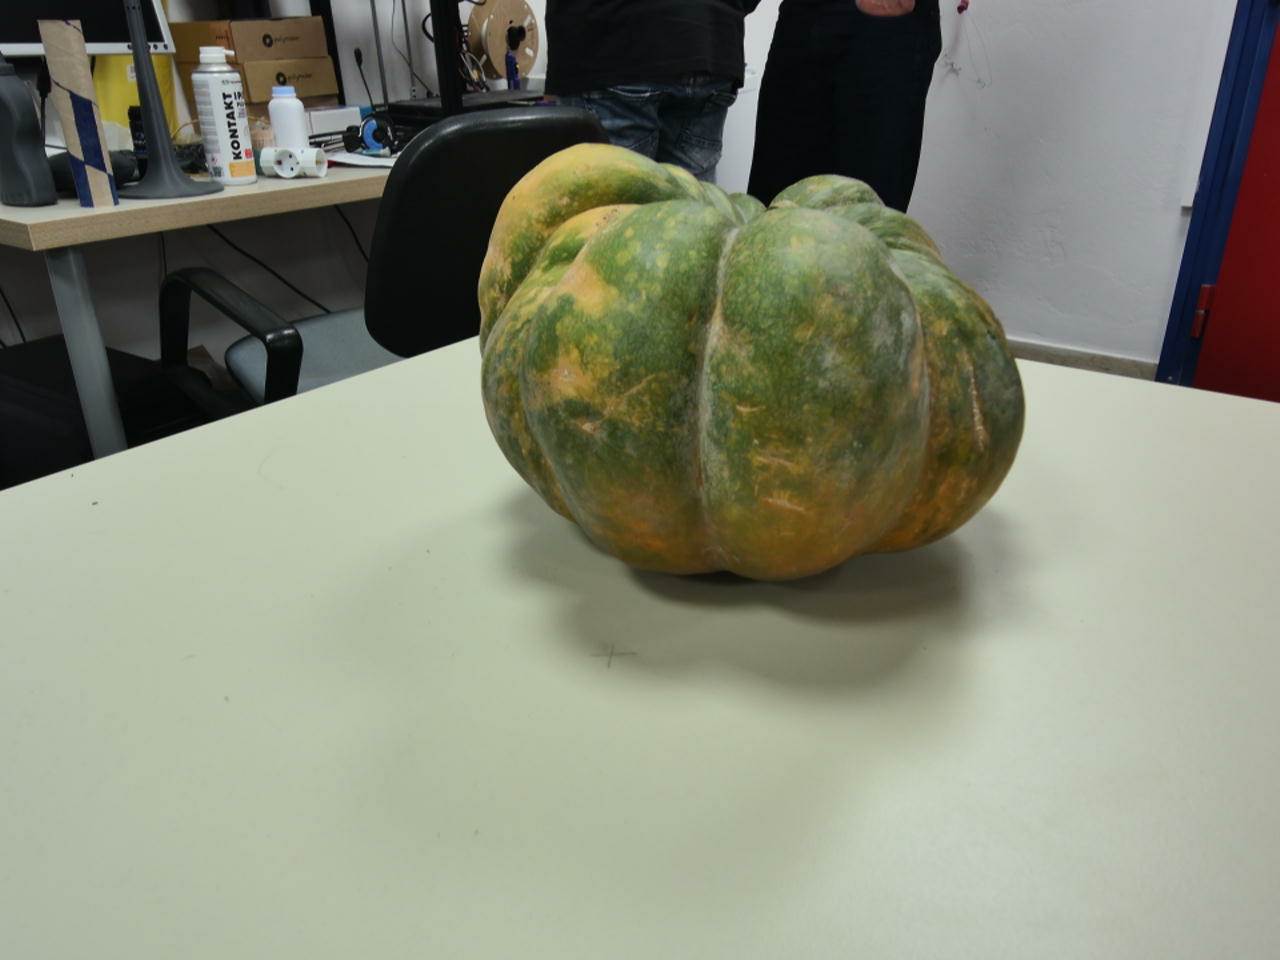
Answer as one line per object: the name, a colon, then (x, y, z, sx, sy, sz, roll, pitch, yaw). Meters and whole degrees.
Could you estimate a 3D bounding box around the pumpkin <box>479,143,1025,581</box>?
pumpkin: (0.046, -0.060, 0.458, 0.237, 0.173, 0.270, -6, 24, -13)
